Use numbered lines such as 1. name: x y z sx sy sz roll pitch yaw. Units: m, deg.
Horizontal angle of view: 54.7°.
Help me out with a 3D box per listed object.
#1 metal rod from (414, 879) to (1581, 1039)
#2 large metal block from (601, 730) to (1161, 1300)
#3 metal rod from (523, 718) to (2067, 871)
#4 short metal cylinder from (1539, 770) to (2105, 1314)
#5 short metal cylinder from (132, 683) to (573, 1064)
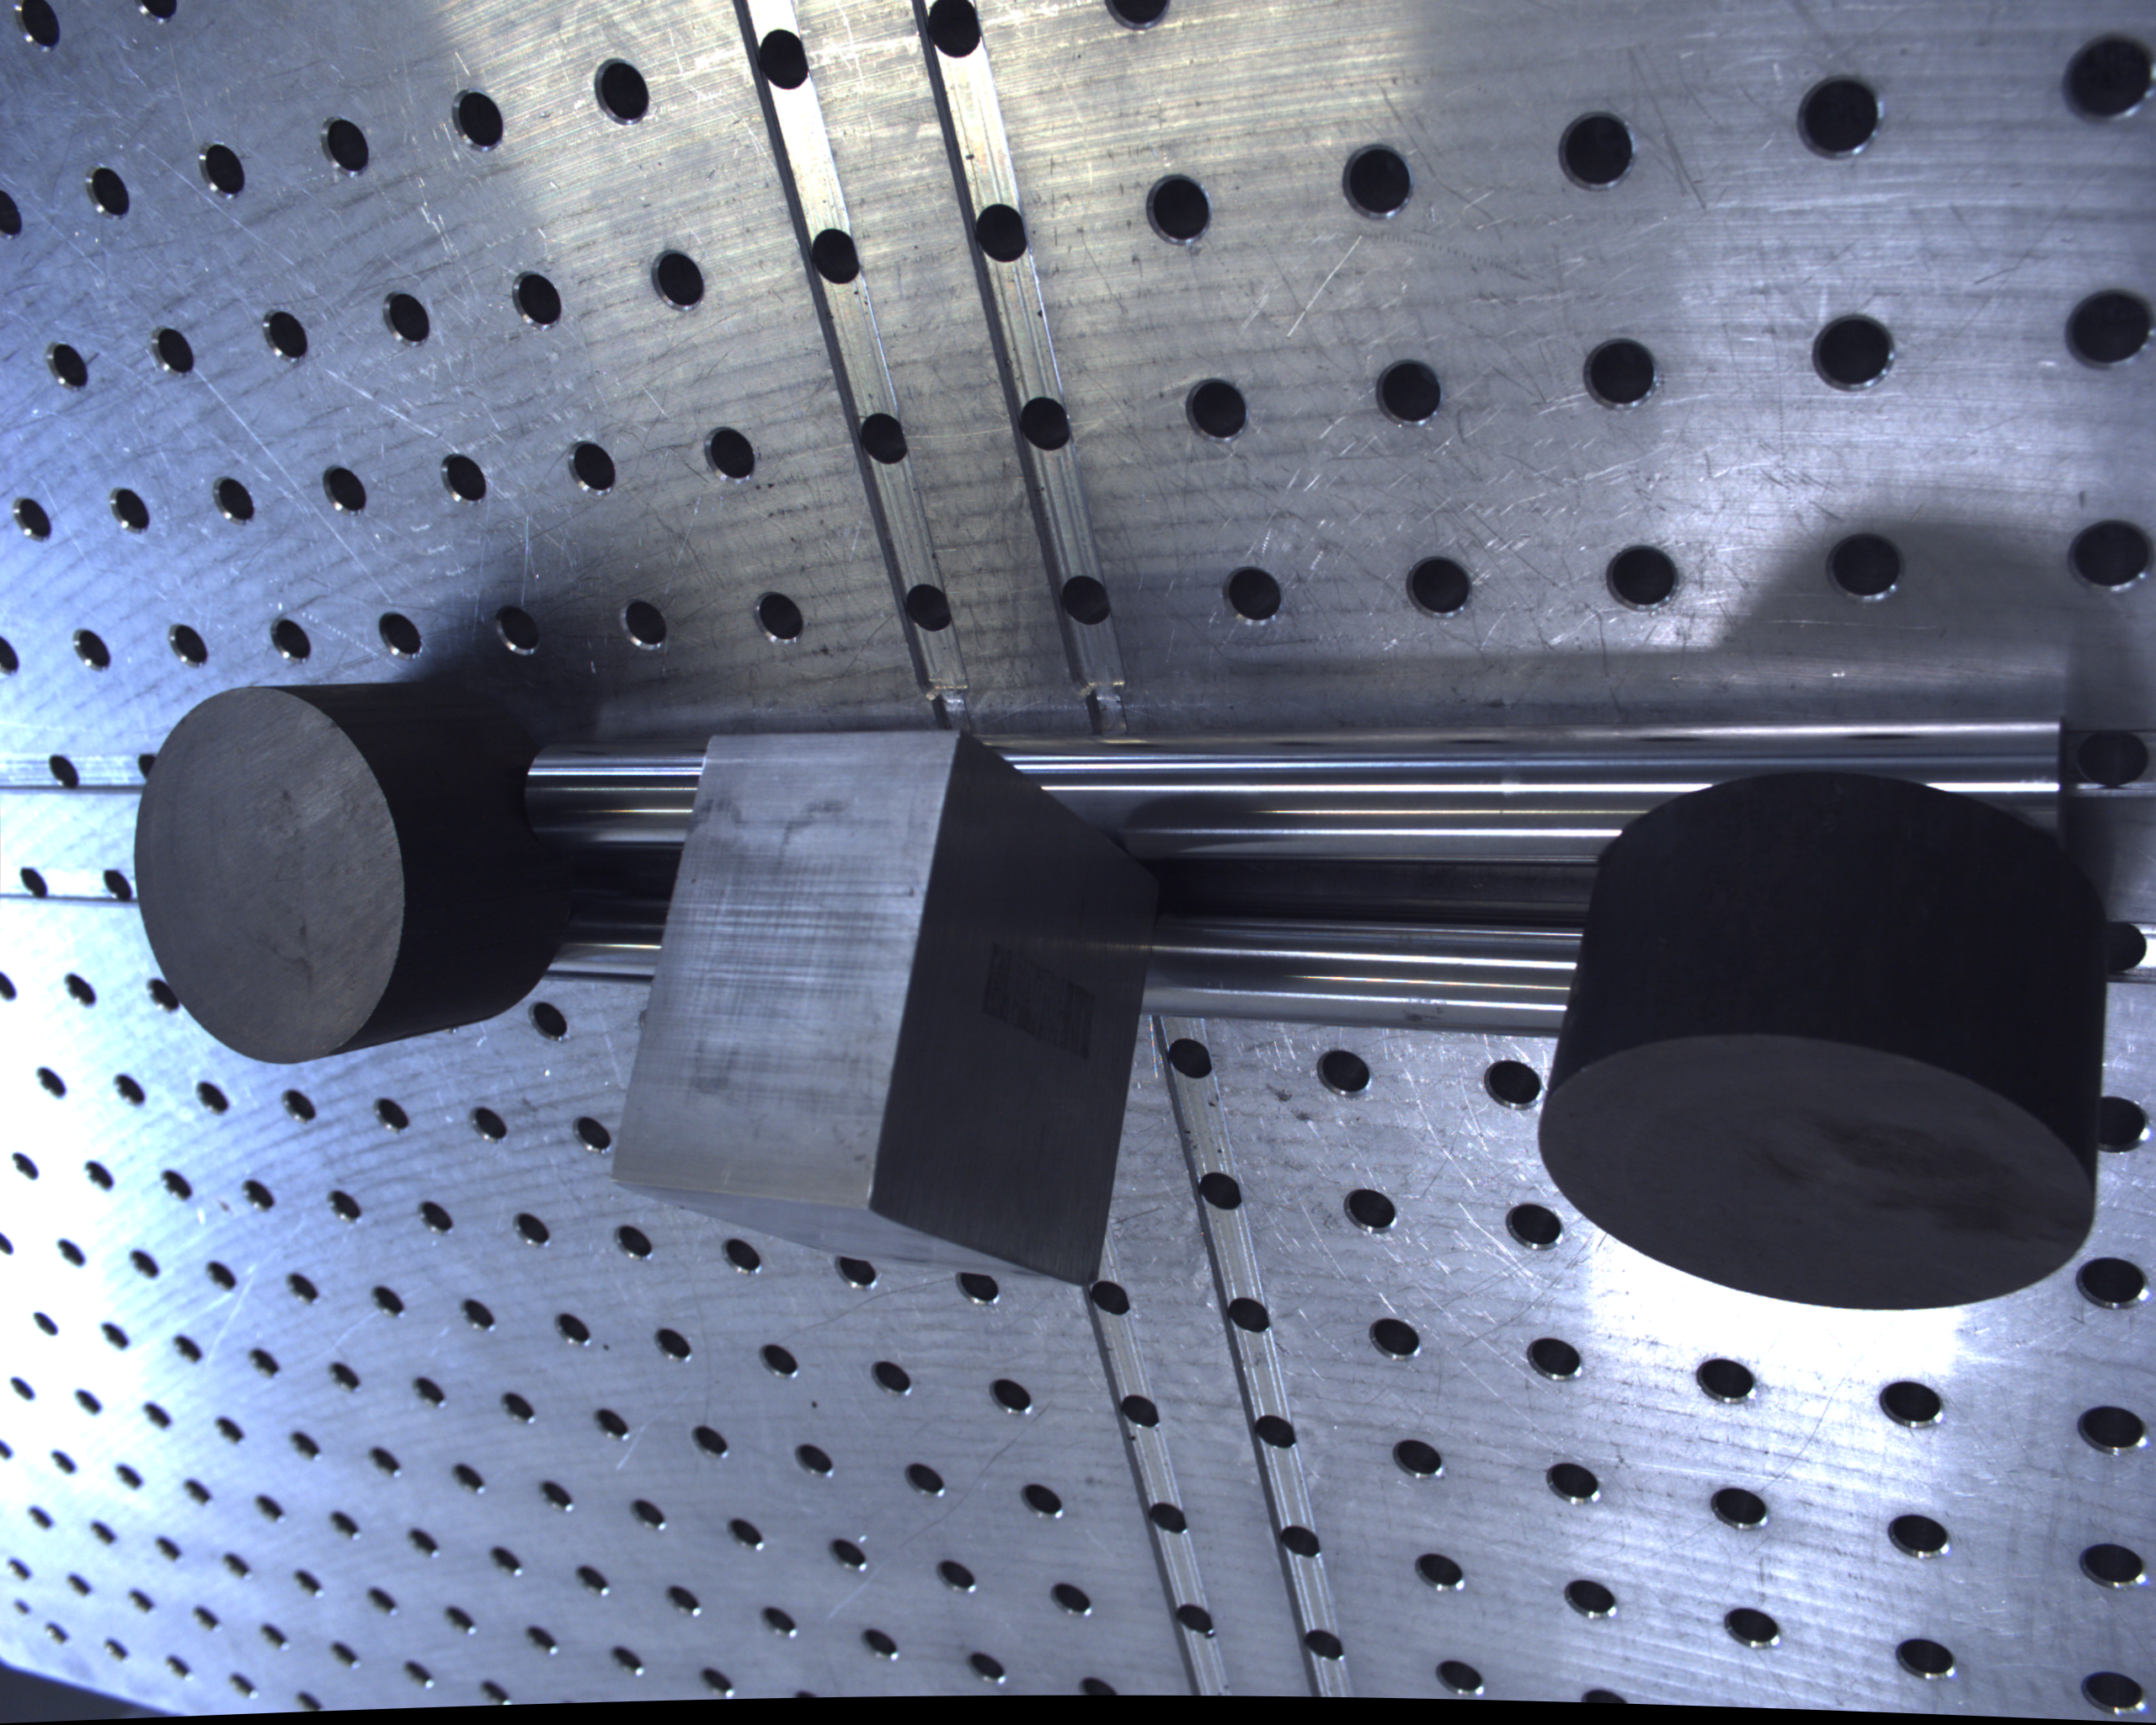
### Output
1. metal rod: -0.039 0.017 0.441 0.300 0.025 0.025 1 119 27
2. large metal block: -0.030 0.029 0.371 0.050 0.080 0.080 1 161 28
3. metal rod: 0.019 -0.012 0.393 0.300 0.025 0.025 1 119 27
4. short metal cylinder: 0.119 0.030 0.334 0.080 0.050 0.080 15 146 10
5. short metal cylinder: -0.160 0.001 0.461 0.080 0.050 0.079 3 97 27
